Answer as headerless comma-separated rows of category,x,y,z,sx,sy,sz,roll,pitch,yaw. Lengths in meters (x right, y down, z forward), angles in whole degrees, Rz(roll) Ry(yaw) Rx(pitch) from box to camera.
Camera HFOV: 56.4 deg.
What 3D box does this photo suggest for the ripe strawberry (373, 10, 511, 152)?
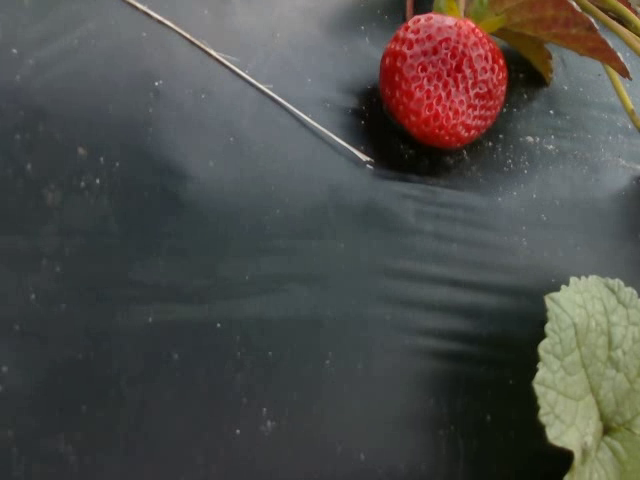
ripe strawberry,0.023,-0.030,0.112,0.028,0.033,0.023,29,-32,-6
